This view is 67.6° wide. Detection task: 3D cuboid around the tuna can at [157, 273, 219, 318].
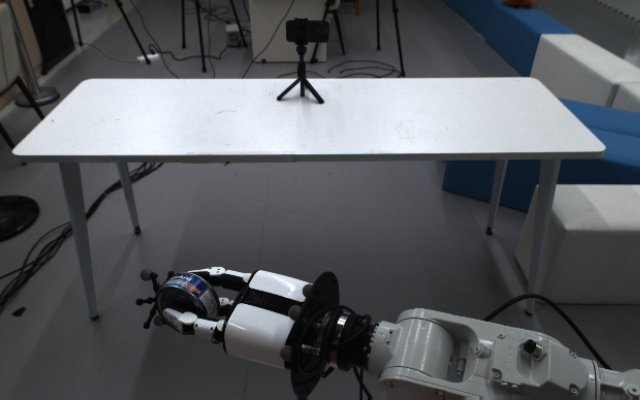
[{"bbox_3d":[-0.182,0.144,0.673,0.085,0.085,0.034,12,29,14],"label":"tuna can"}]
